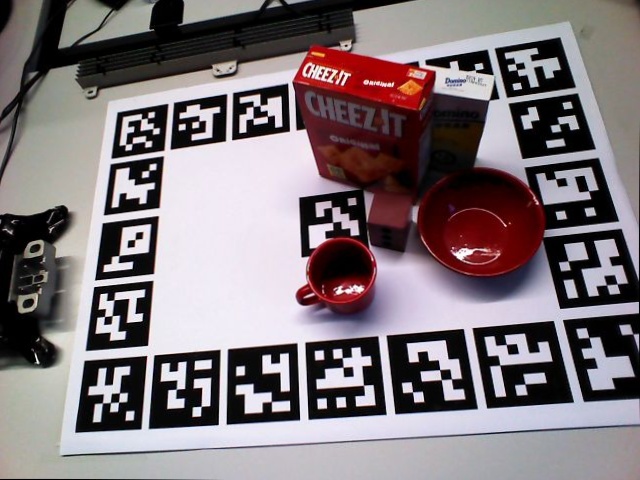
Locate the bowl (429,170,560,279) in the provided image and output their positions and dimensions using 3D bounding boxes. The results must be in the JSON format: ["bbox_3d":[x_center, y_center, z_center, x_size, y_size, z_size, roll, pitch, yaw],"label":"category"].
[{"bbox_3d":[0.222,-0.013,0.679,0.162,0.055,0.161,-4,67,10],"label":"bowl"}]

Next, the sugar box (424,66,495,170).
[{"bbox_3d":[0.179,-0.162,0.698,0.093,0.176,0.045,13,70,17],"label":"sugar box"}]

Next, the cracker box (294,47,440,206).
[{"bbox_3d":[0.067,-0.144,0.695,0.165,0.214,0.071,22,70,19],"label":"cracker box"}]

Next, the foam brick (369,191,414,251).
[{"bbox_3d":[0.101,-0.025,0.715,0.053,0.078,0.051,7,68,16],"label":"foam brick"}]

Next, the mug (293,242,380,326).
[{"bbox_3d":[0.022,0.065,0.681,0.117,0.081,0.093,-16,56,7],"label":"mug"}]
